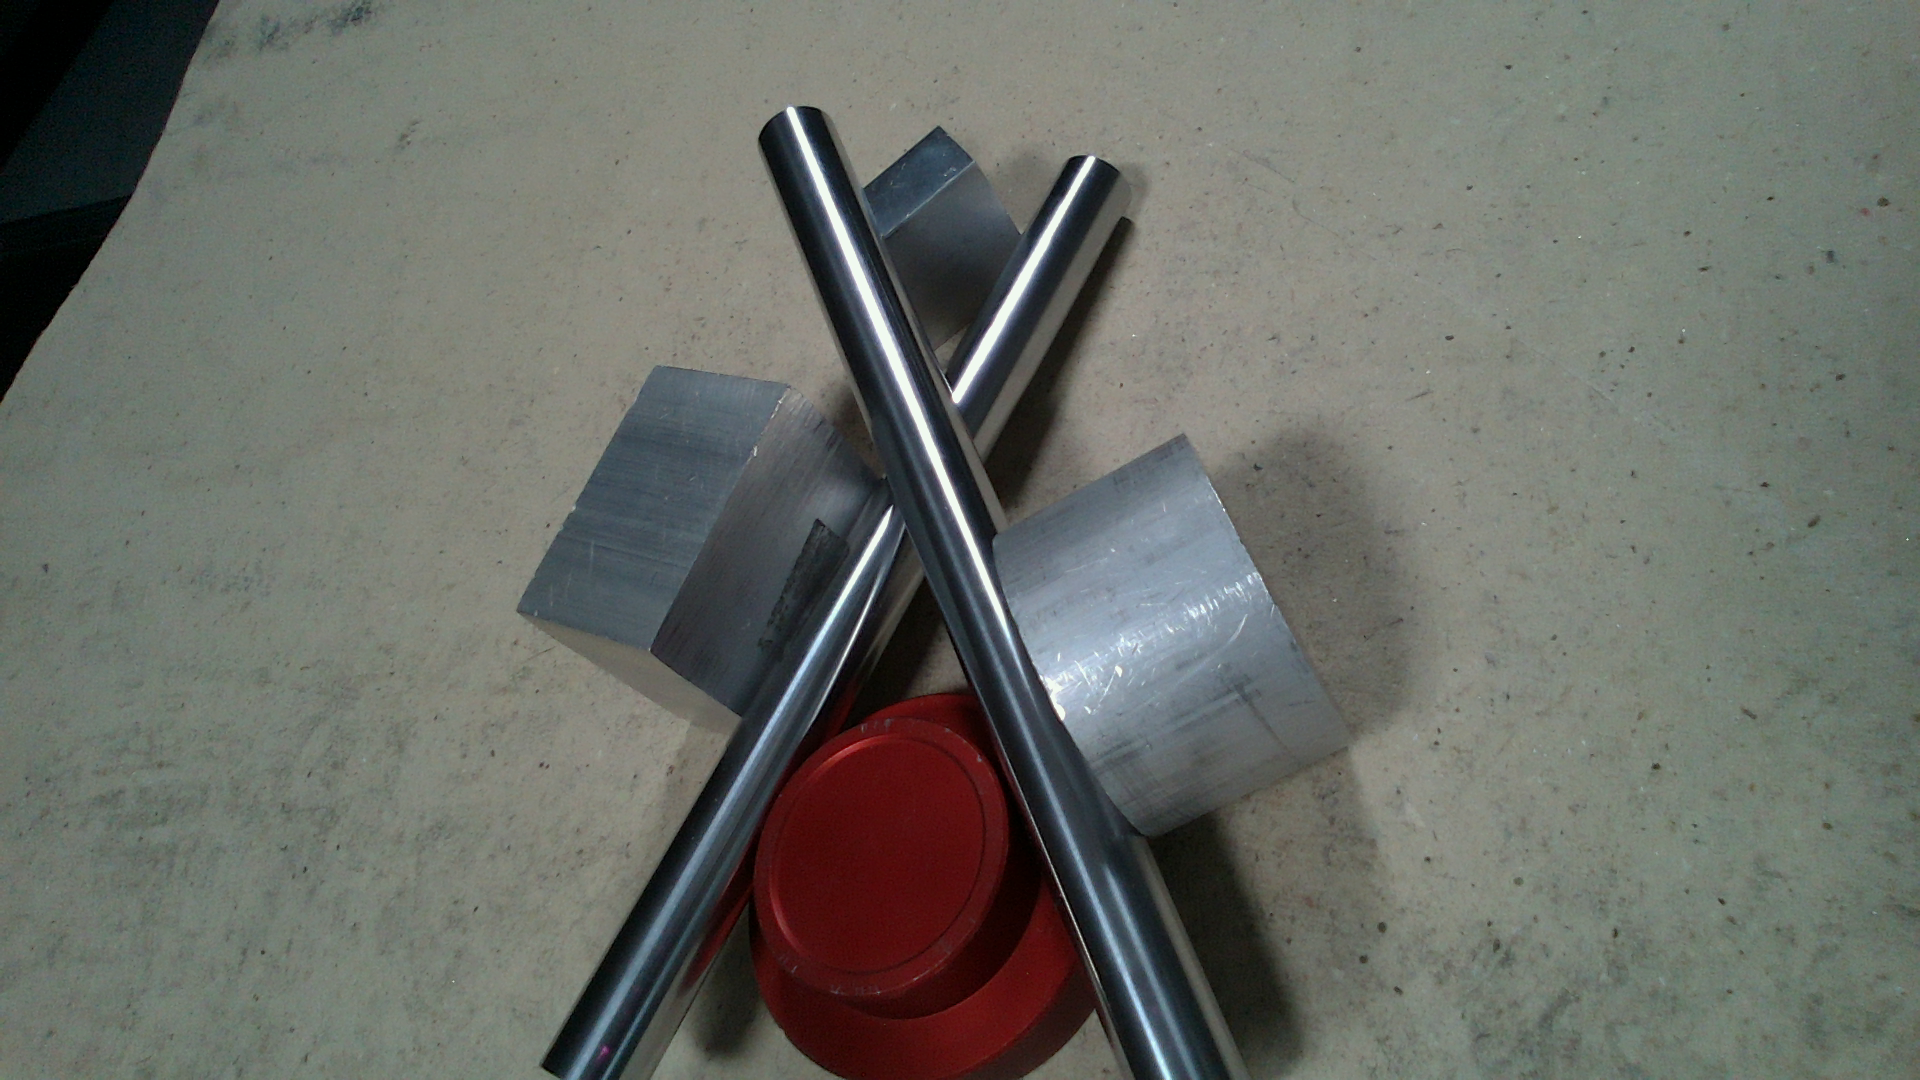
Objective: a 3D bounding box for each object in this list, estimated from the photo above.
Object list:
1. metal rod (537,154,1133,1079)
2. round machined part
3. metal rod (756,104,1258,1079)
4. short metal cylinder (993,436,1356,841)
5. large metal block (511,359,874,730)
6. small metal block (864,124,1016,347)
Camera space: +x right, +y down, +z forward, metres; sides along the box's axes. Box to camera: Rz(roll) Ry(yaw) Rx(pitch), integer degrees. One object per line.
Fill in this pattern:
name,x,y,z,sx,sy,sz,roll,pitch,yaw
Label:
metal rod,-0.022,0.007,0.382,0.025,0.025,0.301,12,62,33
round machined part,-0.011,0.084,0.338,0.098,0.042,0.098,-13,56,21
metal rod,0.000,-0.003,0.352,0.025,0.025,0.300,-29,60,10
short metal cylinder,0.049,0.022,0.319,0.050,0.080,0.080,-28,52,11
large metal block,-0.064,0.007,0.389,0.050,0.080,0.080,12,68,34
small metal block,-0.010,-0.095,0.441,0.050,0.050,0.025,-39,51,2
